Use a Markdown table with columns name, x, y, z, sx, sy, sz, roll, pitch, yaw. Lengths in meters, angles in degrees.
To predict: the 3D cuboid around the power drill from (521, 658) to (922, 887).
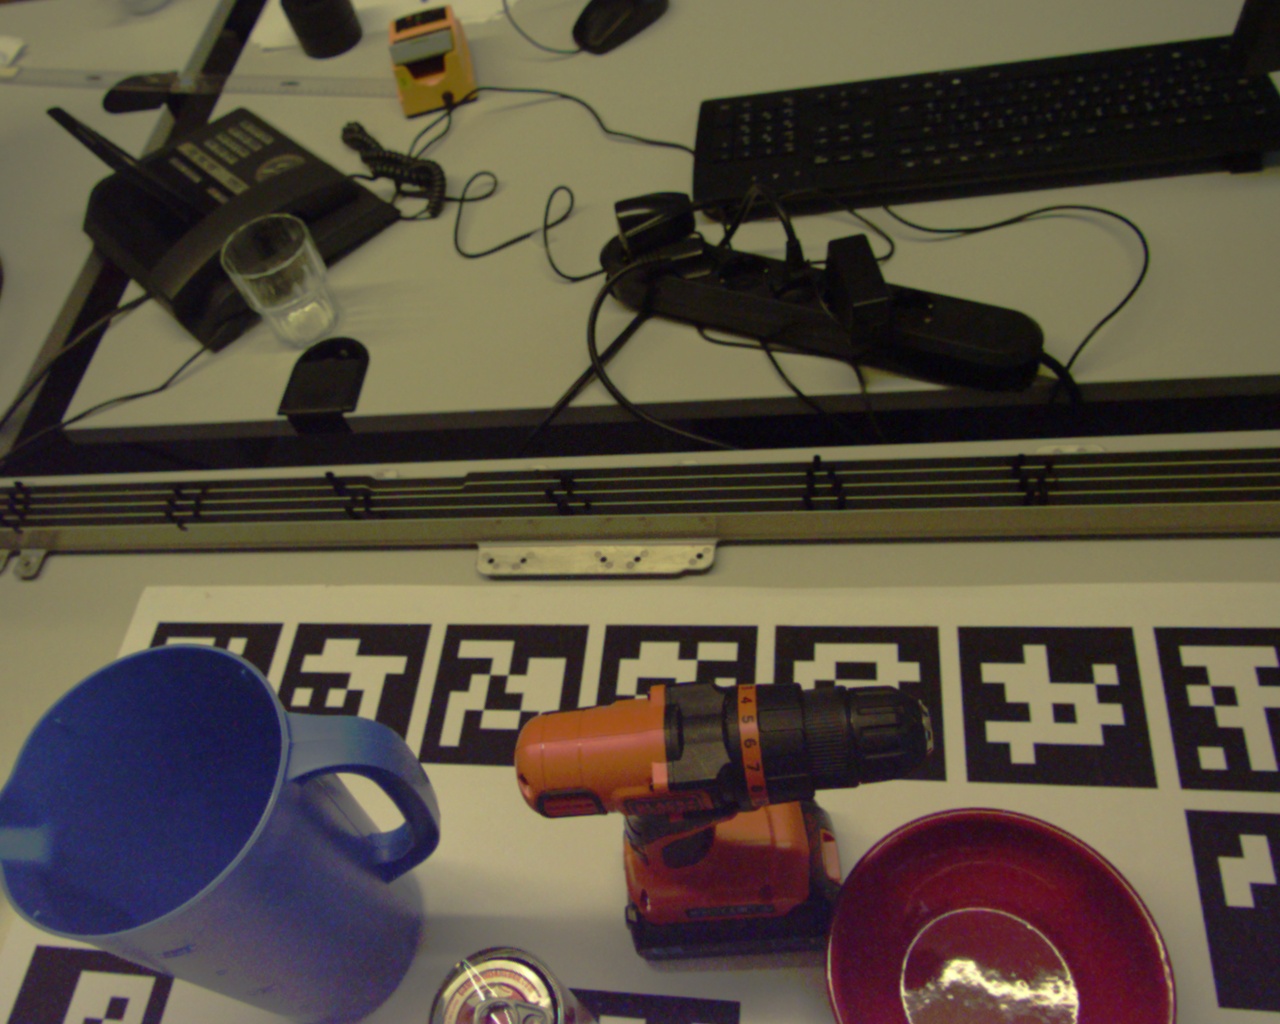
| name | x | y | z | sx | sy | sz | roll | pitch | yaw |
| --- | --- | --- | --- | --- | --- | --- | --- | --- | --- |
| power drill | 0.047 | 0.135 | 0.582 | 0.185 | 0.185 | 0.057 | -6 | 55 | 9 |

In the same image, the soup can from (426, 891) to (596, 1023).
| name | x | y | z | sx | sy | sz | roll | pitch | yaw |
| --- | --- | --- | --- | --- | --- | --- | --- | --- | --- |
| soup can | -0.065 | 0.254 | 0.602 | 0.068 | 0.101 | 0.068 | -8 | 46 | 7 |

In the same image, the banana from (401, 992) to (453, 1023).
| name | x | y | z | sx | sy | sz | roll | pitch | yaw |
| --- | --- | --- | --- | --- | --- | --- | --- | --- | --- |
| banana | -0.185 | 0.319 | 0.627 | 0.197 | 0.038 | 0.075 | -22 | 45 | -4 |

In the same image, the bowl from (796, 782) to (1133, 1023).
| name | x | y | z | sx | sy | sz | roll | pitch | yaw |
| --- | --- | --- | --- | --- | --- | --- | --- | --- | --- |
| bowl | 0.164 | 0.226 | 0.592 | 0.162 | 0.055 | 0.162 | -7 | 56 | 10 |

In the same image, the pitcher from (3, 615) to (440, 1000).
| name | x | y | z | sx | sy | sz | roll | pitch | yaw |
| --- | --- | --- | --- | --- | --- | --- | --- | --- | --- |
| pitcher | -0.192 | 0.167 | 0.607 | 0.188 | 0.240 | 0.134 | -22 | 50 | -3 |
